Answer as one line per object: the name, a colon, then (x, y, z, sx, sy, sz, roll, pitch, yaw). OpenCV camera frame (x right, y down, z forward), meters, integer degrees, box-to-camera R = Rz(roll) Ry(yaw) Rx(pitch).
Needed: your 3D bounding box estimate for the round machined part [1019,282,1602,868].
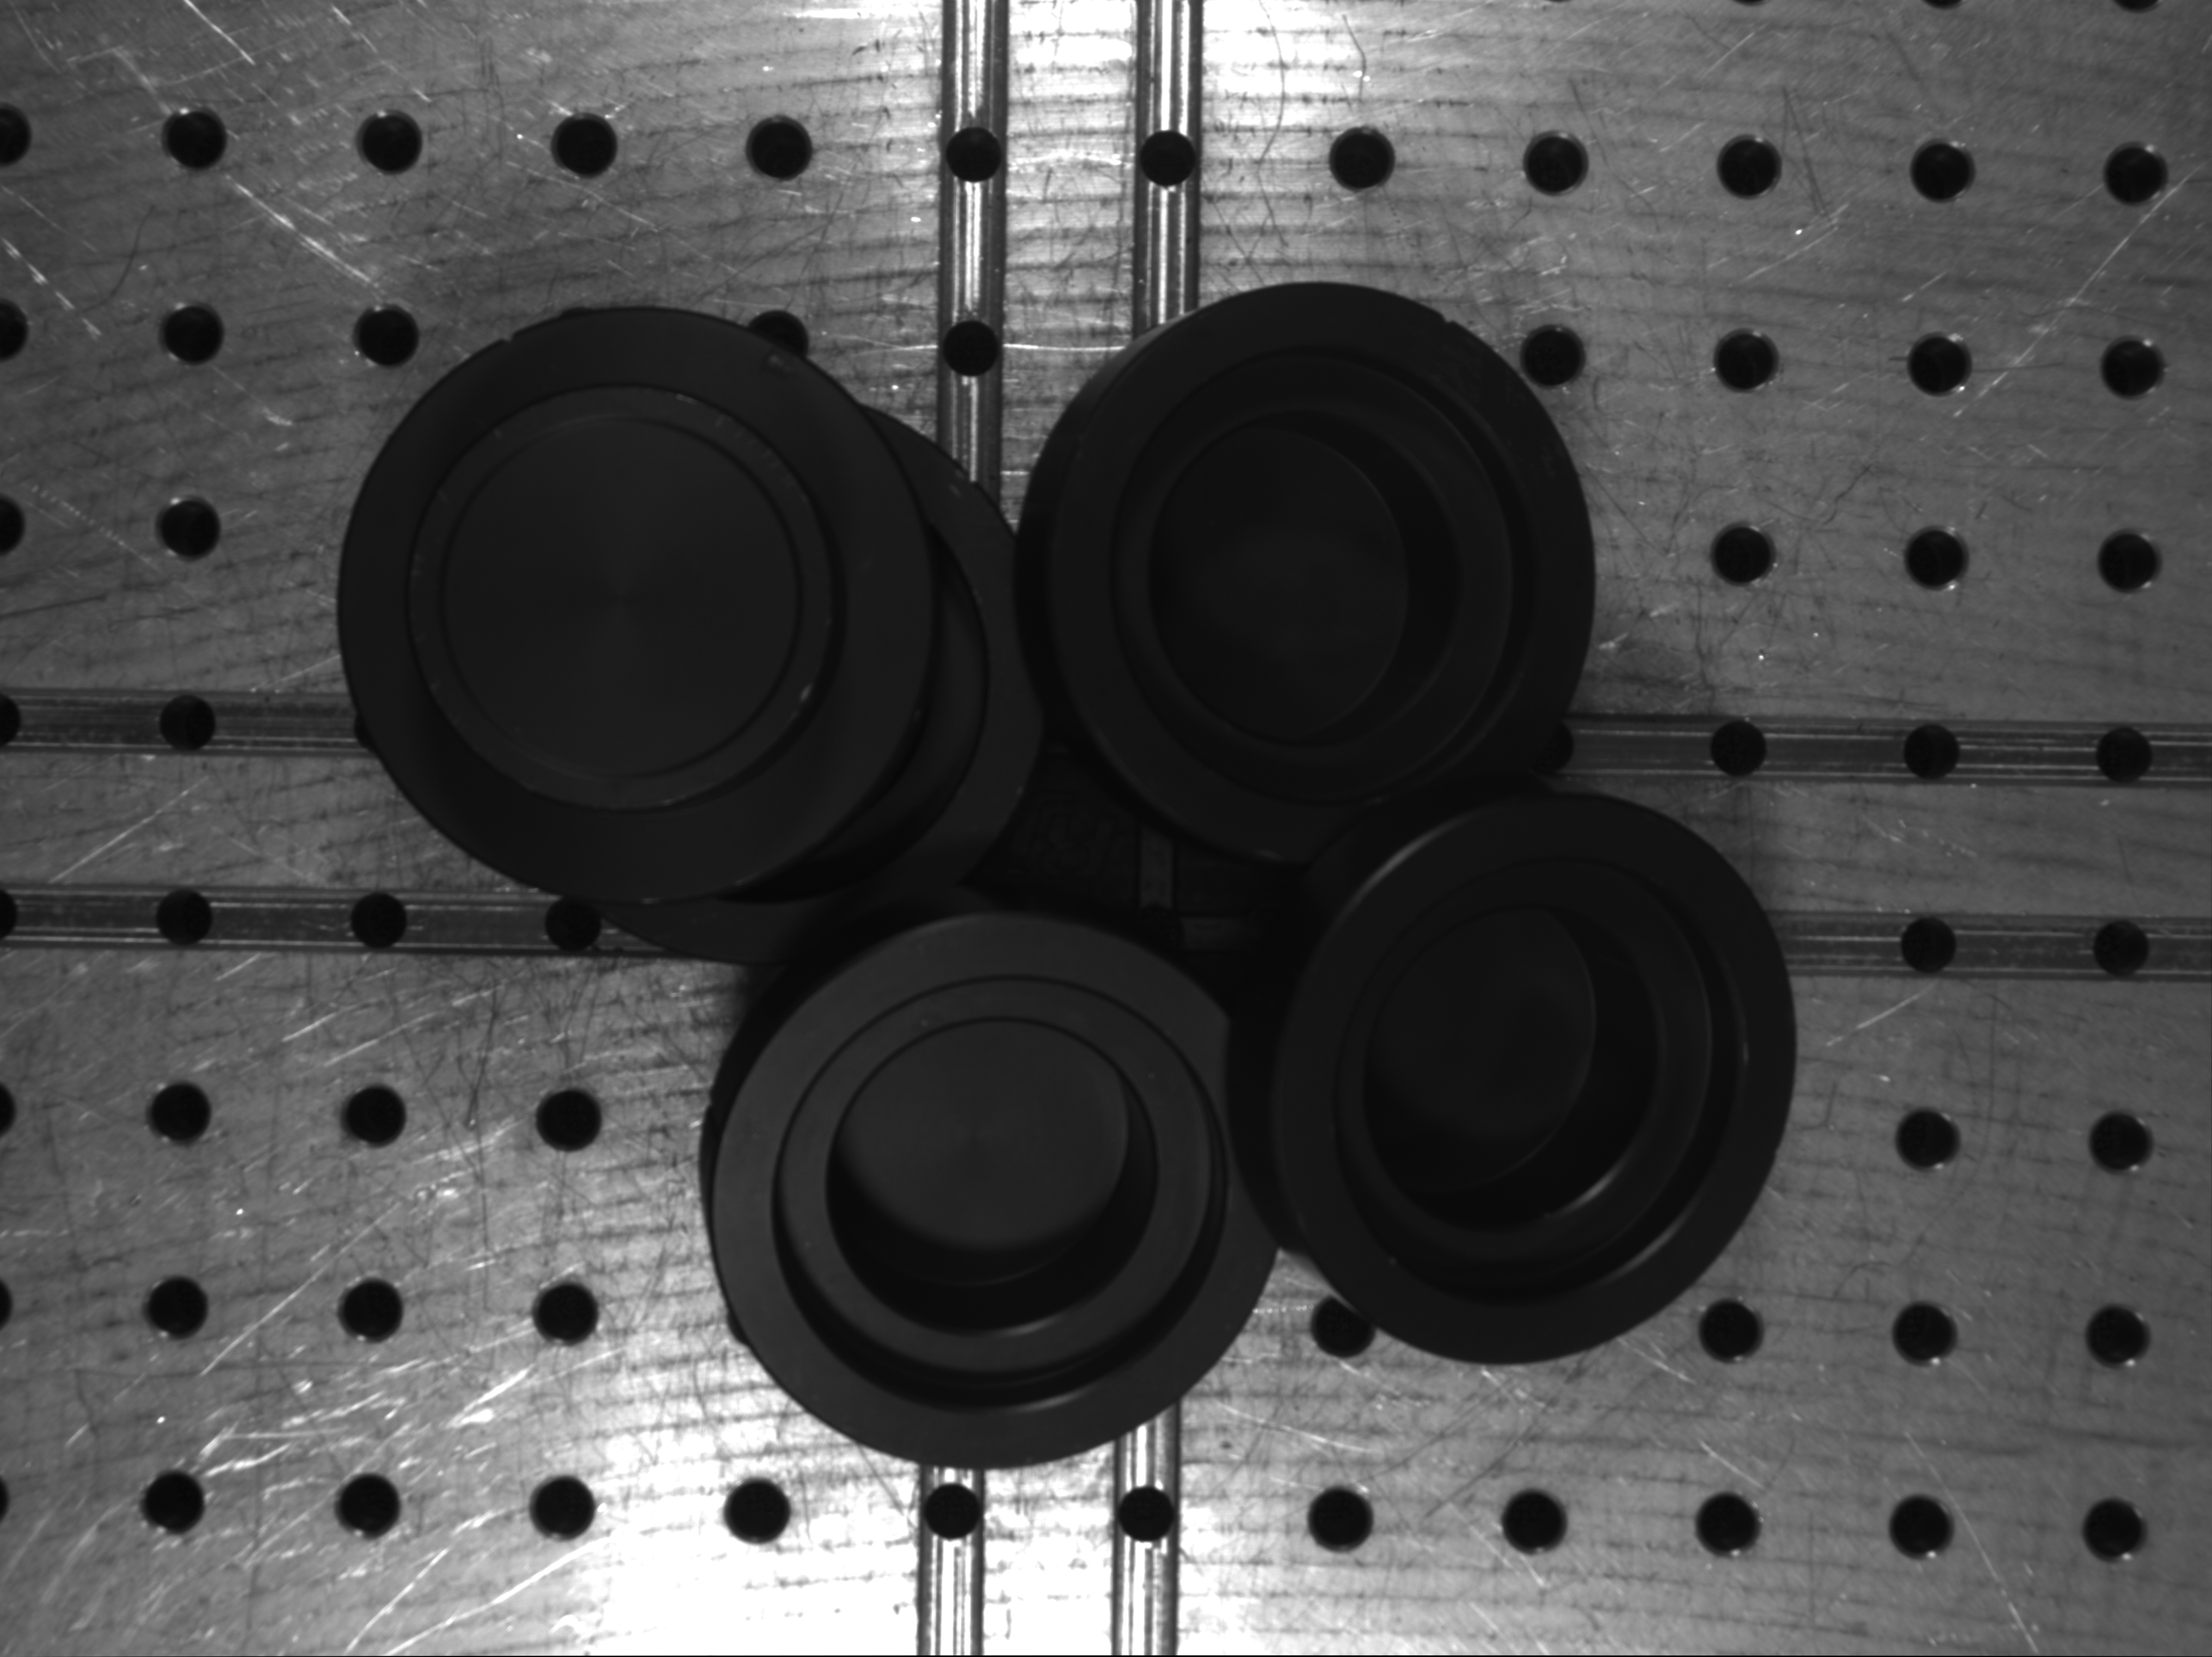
round machined part: (0.032, -0.042, 0.630, 0.098, 0.042, 0.098, 0, 91, -17)

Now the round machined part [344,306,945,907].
round machined part: (-0.075, -0.036, 0.596, 0.098, 0.042, 0.098, 0, 90, 0)

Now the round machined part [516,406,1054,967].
round machined part: (-0.057, -0.026, 0.638, 0.098, 0.042, 0.098, 0, 90, 0)

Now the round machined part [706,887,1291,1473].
round machined part: (-0.020, 0.057, 0.630, 0.098, 0.042, 0.098, -3, 104, -10)

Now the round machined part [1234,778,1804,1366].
round machined part: (0.067, 0.039, 0.628, 0.098, 0.042, 0.098, -4, 102, -21)
